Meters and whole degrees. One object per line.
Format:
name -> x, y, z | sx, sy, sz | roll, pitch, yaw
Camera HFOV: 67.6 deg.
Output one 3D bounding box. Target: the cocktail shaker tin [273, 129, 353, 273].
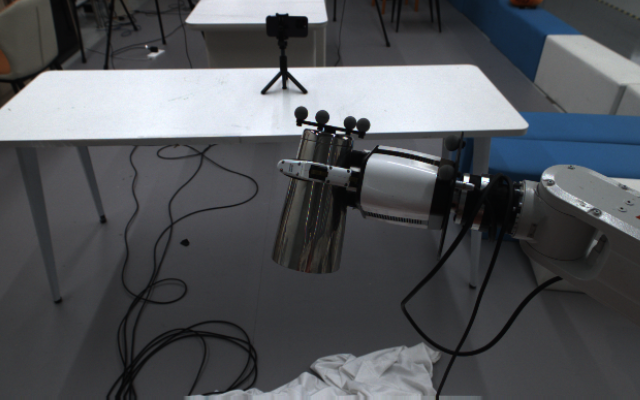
cocktail shaker tin -> 0.000, -0.004, 0.626 | 0.093, 0.170, 0.093 | 10, 9, -2
